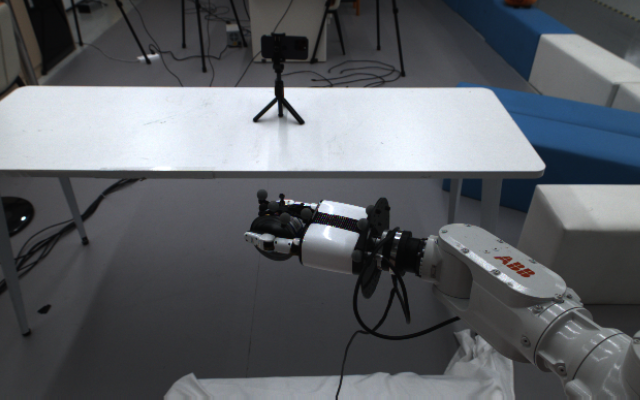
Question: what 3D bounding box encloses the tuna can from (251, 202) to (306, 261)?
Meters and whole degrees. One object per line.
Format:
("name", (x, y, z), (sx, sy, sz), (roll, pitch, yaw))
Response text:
("tuna can", (-0.068, 0.055, 0.794), (0.085, 0.085, 0.034), (16, 29, 19))
